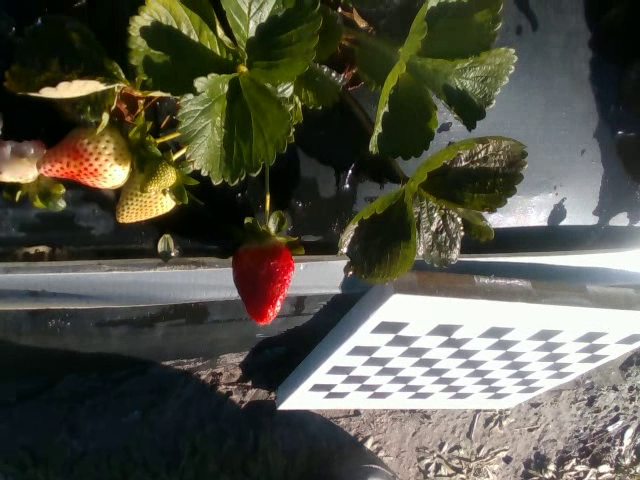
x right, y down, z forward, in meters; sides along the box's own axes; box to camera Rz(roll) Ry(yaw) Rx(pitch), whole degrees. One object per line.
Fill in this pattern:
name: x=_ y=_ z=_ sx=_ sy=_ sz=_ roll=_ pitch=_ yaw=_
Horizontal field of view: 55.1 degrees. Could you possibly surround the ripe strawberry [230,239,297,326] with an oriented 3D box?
ripe strawberry: x=-0.029 y=0.021 z=0.301 sx=0.036 sy=0.046 sz=0.038 roll=8 pitch=-19 yaw=-17
